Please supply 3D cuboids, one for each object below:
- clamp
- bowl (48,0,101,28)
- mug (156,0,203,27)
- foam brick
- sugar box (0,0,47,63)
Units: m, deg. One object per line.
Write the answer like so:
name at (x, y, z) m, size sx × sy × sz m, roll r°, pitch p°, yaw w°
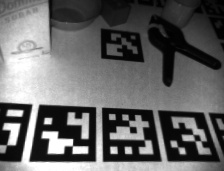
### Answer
clamp at (0.141, -0.107, 0.528) m, size 0.166 × 0.037 × 0.201 m, roll -17°, pitch 64°, yaw -19°
bowl at (-0.110, -0.191, 0.523) m, size 0.162 × 0.055 × 0.161 m, roll 7°, pitch 57°, yaw -9°
mug at (0.174, -0.222, 0.587) m, size 0.117 × 0.081 × 0.093 m, roll 28°, pitch 56°, yaw 2°
foam brick at (0.004, -0.201, 0.563) m, size 0.053 × 0.051 × 0.077 m, roll -21°, pitch 65°, yaw -22°
sugar box at (-0.172, -0.118, 0.389) m, size 0.093 × 0.176 × 0.045 m, roll -18°, pitch 64°, yaw -23°
